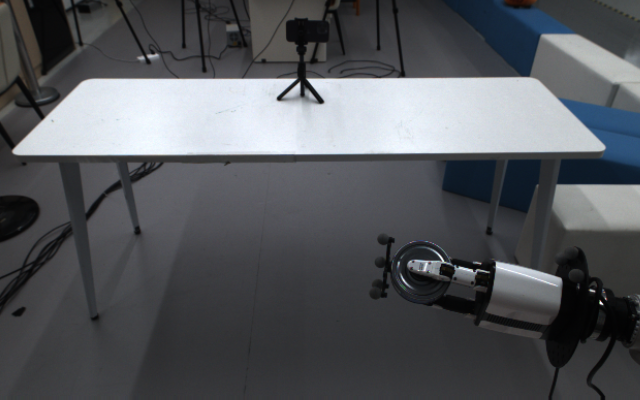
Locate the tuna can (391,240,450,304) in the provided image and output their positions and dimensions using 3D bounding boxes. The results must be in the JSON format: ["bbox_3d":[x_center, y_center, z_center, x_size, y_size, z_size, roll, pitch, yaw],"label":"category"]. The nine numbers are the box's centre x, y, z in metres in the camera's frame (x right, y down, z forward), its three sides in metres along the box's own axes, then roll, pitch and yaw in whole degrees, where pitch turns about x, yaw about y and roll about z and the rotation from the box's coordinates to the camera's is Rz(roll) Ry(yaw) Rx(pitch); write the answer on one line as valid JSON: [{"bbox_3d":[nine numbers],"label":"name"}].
[{"bbox_3d":[0.144,0.098,0.680,0.085,0.034,0.085,-2,68,5],"label":"tuna can"}]
